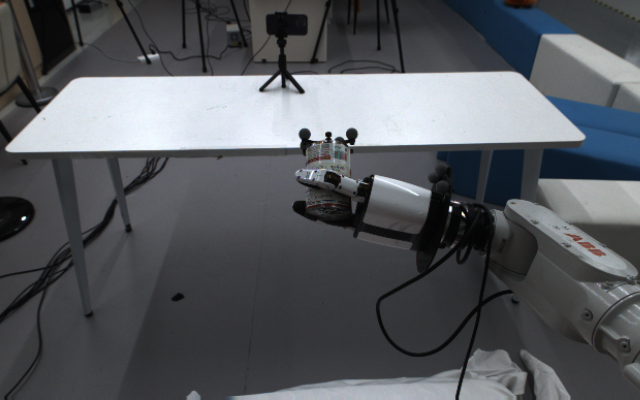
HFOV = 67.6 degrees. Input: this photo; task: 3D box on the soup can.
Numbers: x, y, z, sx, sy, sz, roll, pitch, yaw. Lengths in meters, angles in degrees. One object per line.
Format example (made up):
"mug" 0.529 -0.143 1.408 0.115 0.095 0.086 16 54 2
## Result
"soup can" 0.013 -0.028 0.701 0.067 0.067 0.101 1 73 -2
